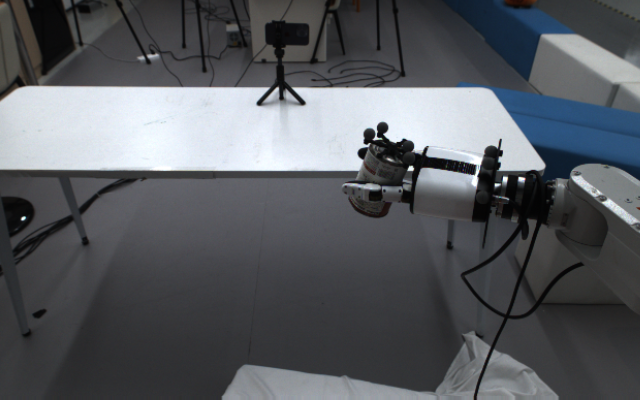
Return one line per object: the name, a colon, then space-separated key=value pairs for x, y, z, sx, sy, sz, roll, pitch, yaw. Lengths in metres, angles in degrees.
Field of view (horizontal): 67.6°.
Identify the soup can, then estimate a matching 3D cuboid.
soup can: x=0.091 y=-0.033 z=0.740 sx=0.067 sy=0.101 sz=0.067 roll=13 pitch=35 yaw=-9
